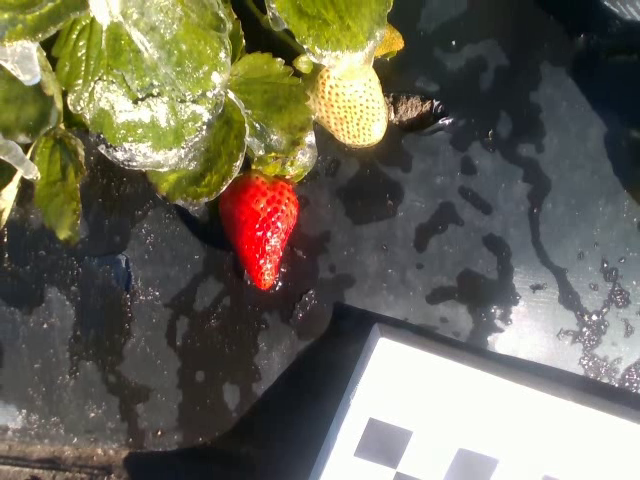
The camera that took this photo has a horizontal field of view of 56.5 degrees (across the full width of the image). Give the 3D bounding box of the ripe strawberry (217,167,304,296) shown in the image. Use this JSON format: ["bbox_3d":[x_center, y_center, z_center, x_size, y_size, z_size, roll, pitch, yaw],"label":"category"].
[{"bbox_3d":[-0.026,0.000,0.264,0.041,0.052,0.040,2,8,-3],"label":"ripe strawberry"}]
